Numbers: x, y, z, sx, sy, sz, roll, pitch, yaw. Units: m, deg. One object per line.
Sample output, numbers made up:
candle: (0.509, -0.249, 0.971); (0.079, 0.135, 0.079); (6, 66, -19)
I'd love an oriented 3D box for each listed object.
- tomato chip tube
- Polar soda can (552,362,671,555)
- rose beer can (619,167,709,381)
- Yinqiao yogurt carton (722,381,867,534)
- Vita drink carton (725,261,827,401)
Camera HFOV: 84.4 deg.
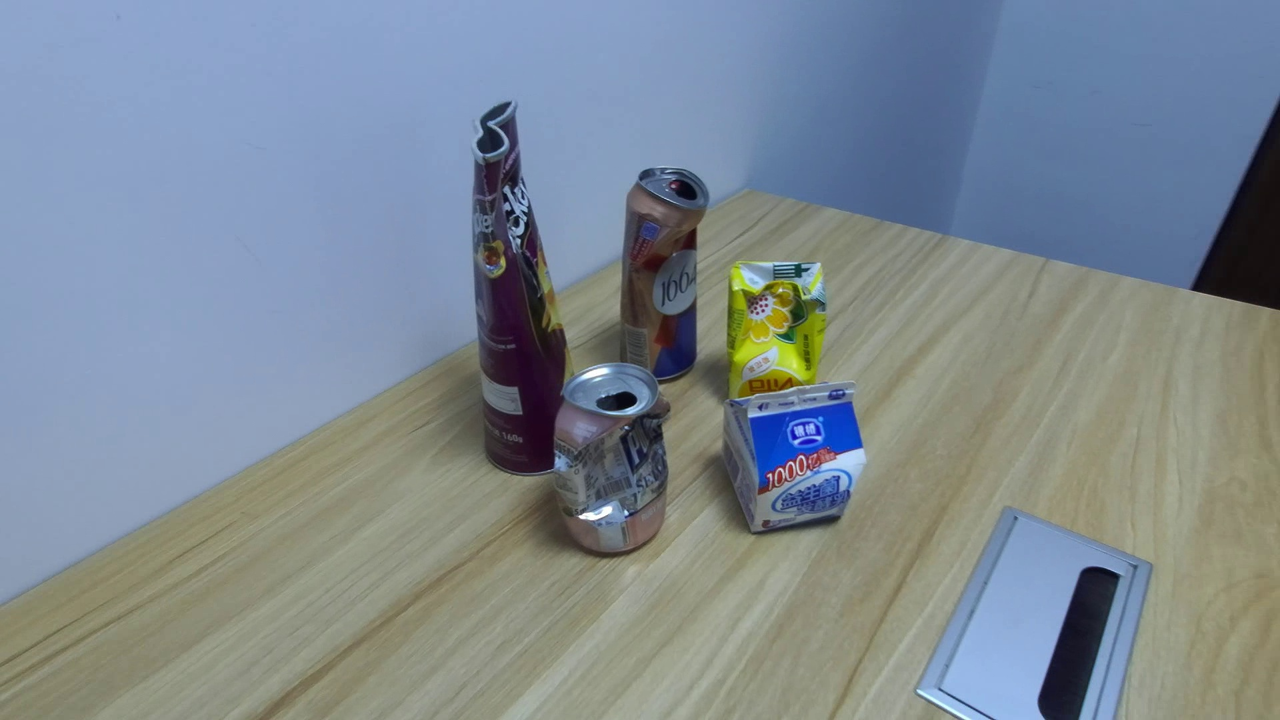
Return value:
tomato chip tube: (-0.079, -0.035, 0.462); (0.077, 0.236, 0.090); (23, 39, 31)
Polar soda can: (-0.016, 0.058, 0.426); (0.070, 0.114, 0.074); (0, 37, -5)
rose beer can: (0.017, -0.064, 0.558); (0.070, 0.168, 0.069); (-6, 36, -12)
Yinqiao yogurt carton: (0.098, 0.052, 0.441); (0.074, 0.097, 0.080); (-9, 42, -9)
Vita drink carton: (0.101, -0.015, 0.528); (0.071, 0.110, 0.046); (2, 30, 8)
